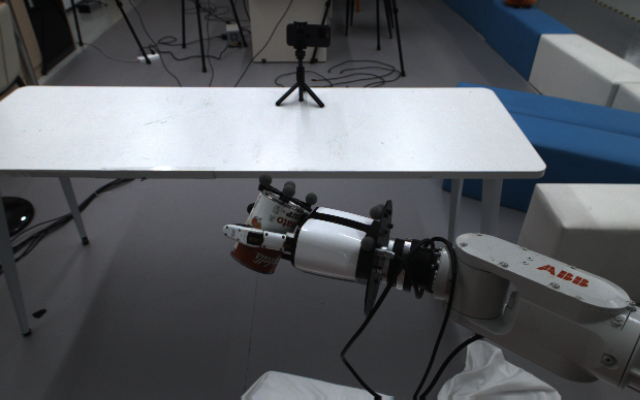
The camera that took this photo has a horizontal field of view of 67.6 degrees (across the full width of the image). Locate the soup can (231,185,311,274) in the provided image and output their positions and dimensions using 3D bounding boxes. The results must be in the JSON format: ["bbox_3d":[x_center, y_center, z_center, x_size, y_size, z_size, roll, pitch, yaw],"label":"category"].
[{"bbox_3d":[-0.072,0.044,0.675,0.067,0.101,0.067,26,6,-3],"label":"soup can"}]
